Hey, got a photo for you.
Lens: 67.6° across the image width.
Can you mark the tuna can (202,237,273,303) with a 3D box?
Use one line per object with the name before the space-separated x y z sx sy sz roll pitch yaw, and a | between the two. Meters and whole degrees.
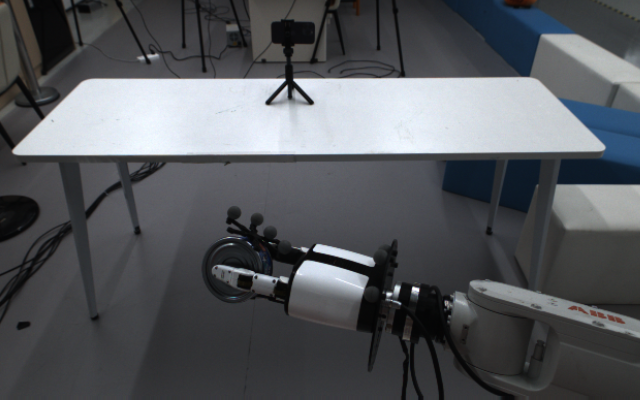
tuna can | -0.104 0.087 0.616 0.085 0.085 0.034 12 4 14
